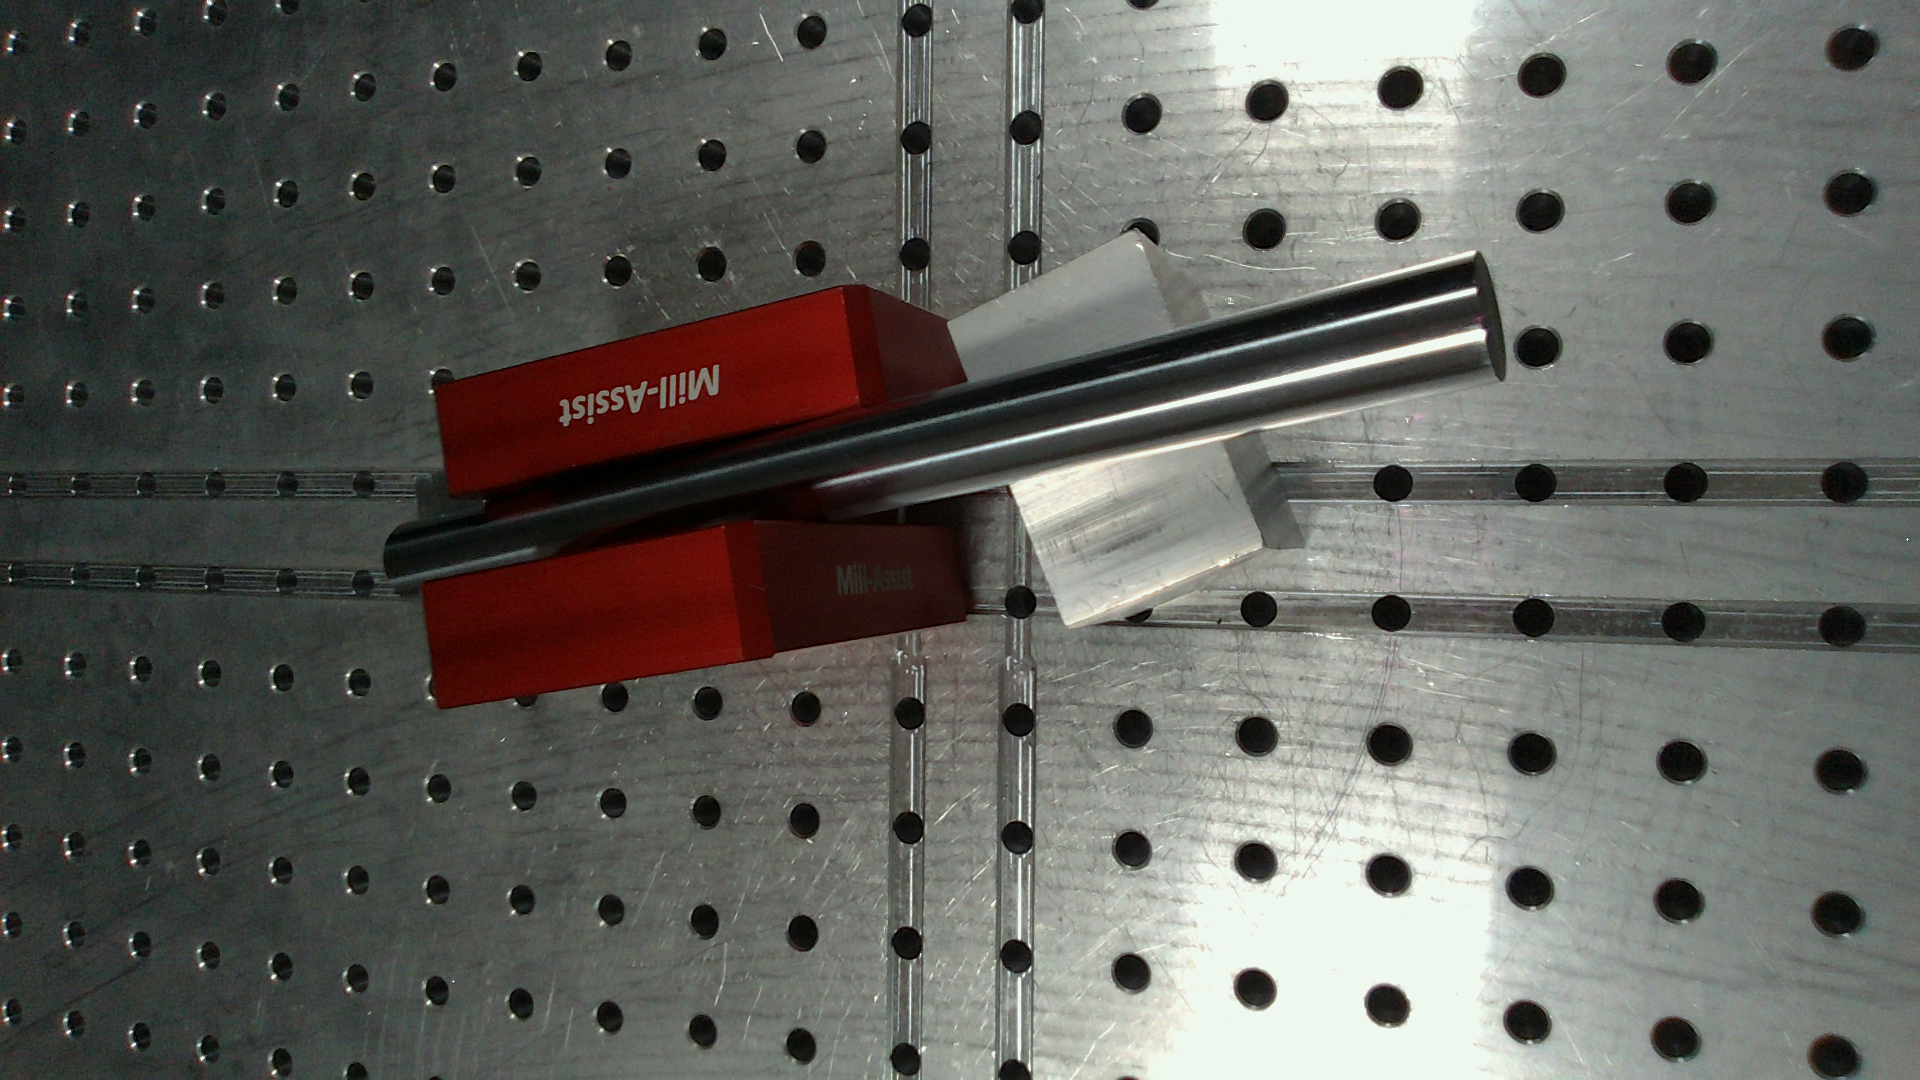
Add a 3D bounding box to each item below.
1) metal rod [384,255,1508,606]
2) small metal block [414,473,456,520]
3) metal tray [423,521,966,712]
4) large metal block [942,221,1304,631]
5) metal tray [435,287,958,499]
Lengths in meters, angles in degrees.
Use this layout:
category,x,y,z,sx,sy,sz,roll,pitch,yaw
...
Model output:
category,x,y,z,sx,sy,sz,roll,pitch,yaw
metal rod,-0.029,-0.017,0.328,0.299,0.025,0.025,-11,86,29
small metal block,-0.142,0.004,0.436,0.025,0.050,0.050,-9,87,20
metal tray,-0.062,0.018,0.365,0.090,0.130,0.030,-10,87,20
large metal block,0.046,-0.026,0.352,0.050,0.080,0.080,-24,82,19
metal tray,-0.066,-0.036,0.387,0.130,0.090,0.030,-10,88,20
